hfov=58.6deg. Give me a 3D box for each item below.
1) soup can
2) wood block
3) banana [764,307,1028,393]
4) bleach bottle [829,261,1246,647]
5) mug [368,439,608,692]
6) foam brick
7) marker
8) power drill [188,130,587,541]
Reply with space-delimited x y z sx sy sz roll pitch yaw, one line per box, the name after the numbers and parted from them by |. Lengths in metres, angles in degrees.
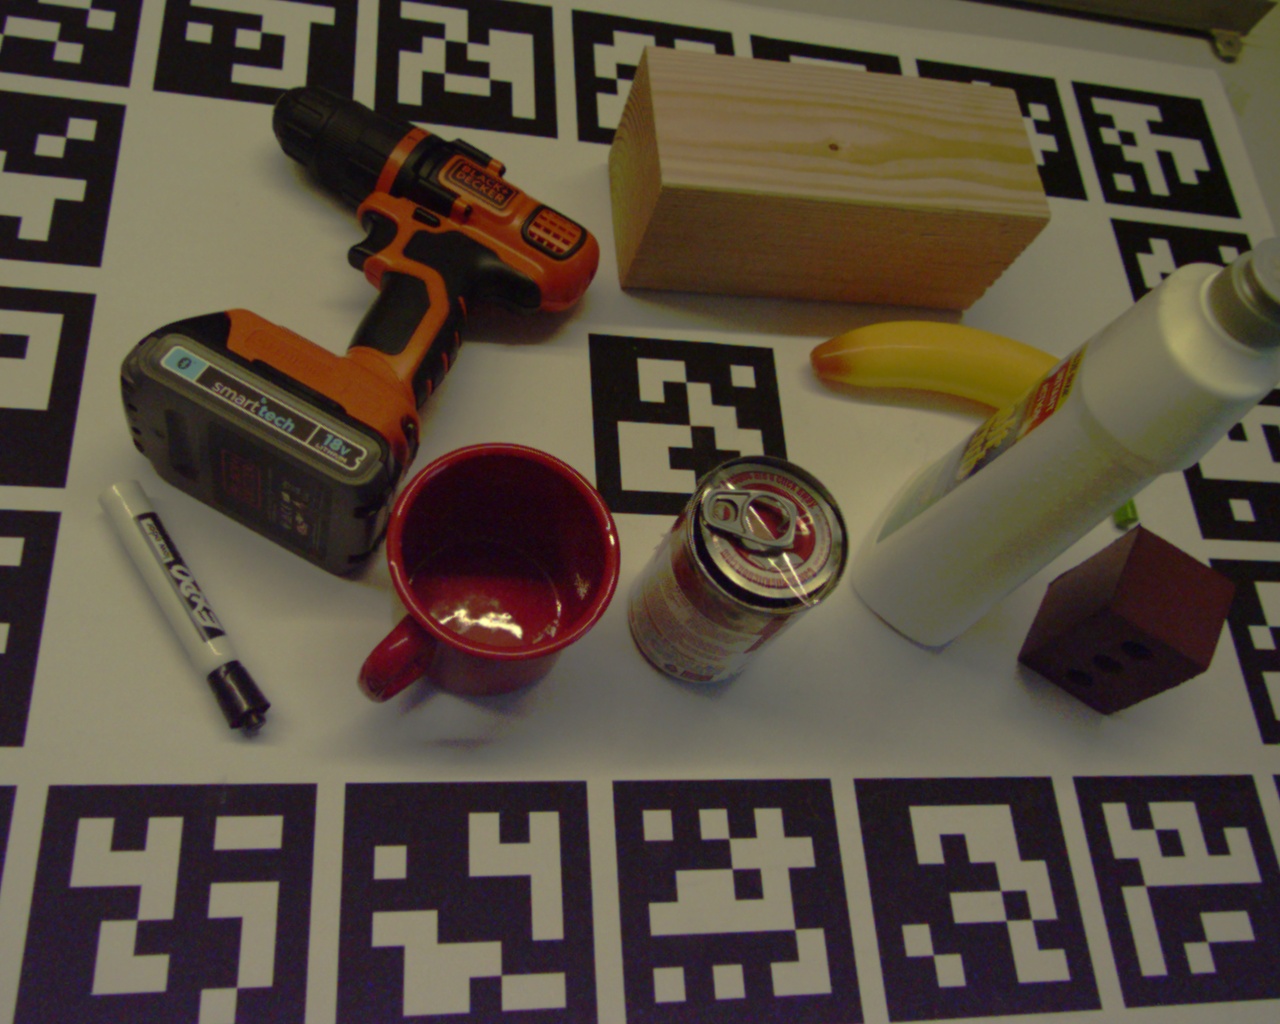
0.032 0.026 0.519 0.067 0.102 0.068 7 60 -13 | soup can
0.086 -0.169 0.642 0.205 0.091 0.090 1 66 -14 | wood block
0.166 -0.077 0.643 0.196 0.039 0.074 17 76 -9 | banana
0.167 -0.027 0.501 0.068 0.251 0.102 28 60 -1 | bleach bottle
-0.076 0.034 0.504 0.093 0.082 0.116 41 65 4 | mug
0.225 0.054 0.578 0.053 0.078 0.051 31 59 3 | foam brick
-0.196 0.047 0.506 0.019 0.020 0.121 -29 76 -23 | marker
-0.138 -0.093 0.570 0.184 0.057 0.186 29 60 -4 | power drill
